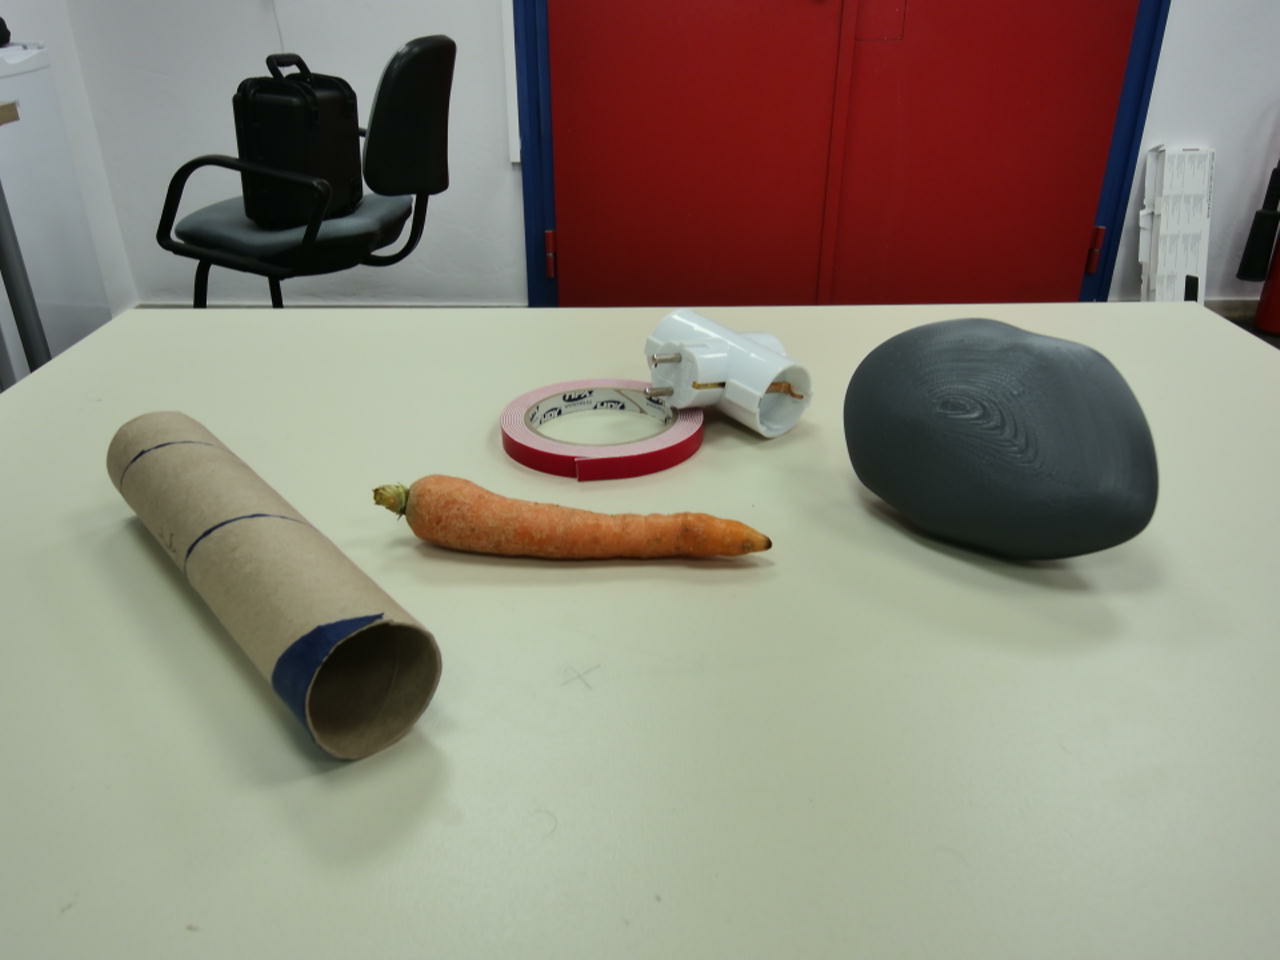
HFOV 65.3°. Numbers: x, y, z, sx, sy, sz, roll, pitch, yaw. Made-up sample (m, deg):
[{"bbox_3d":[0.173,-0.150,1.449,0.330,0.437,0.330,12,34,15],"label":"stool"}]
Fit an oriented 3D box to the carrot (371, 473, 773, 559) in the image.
[{"bbox_3d":[-0.030,0.018,0.426,0.173,0.032,0.030,4,25,8],"label":"carrot"}]
